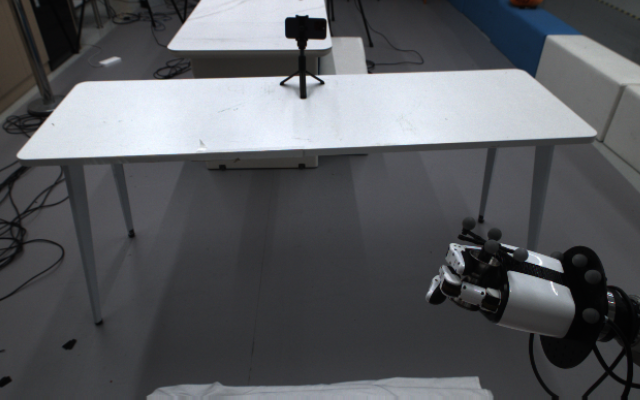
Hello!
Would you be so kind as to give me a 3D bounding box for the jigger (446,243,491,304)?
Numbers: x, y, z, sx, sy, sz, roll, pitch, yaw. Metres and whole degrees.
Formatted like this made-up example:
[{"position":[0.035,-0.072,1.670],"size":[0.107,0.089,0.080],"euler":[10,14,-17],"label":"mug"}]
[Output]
[{"position":[0.201,0.103,0.630],"size":[0.043,0.071,0.043],"euler":[18,17,-6],"label":"jigger"}]
